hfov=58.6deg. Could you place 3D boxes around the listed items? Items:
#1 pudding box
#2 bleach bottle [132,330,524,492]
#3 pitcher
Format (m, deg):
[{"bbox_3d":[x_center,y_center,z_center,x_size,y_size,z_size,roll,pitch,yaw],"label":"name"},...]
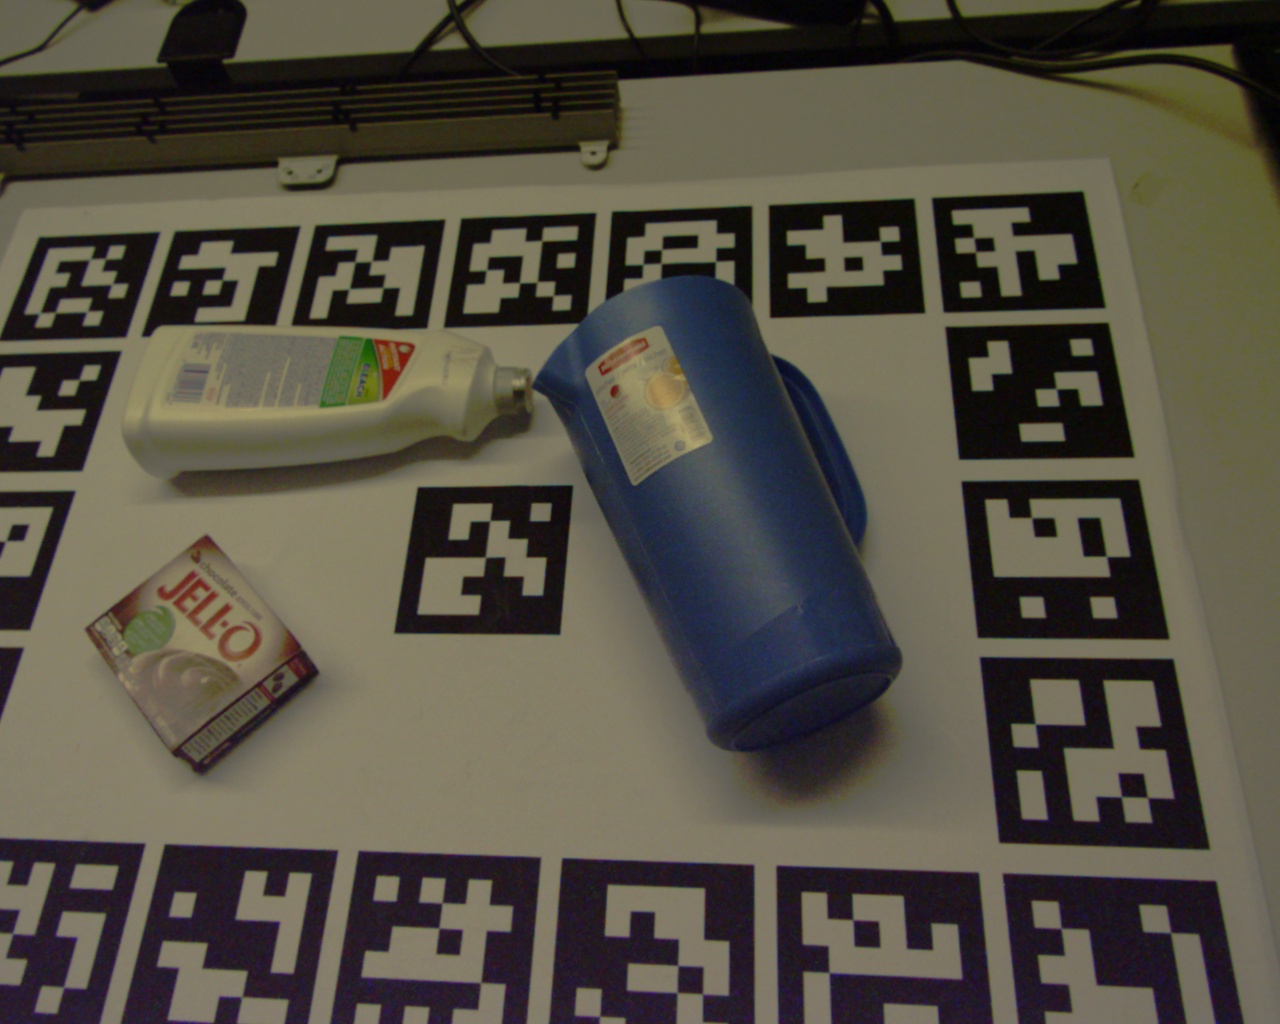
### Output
[{"bbox_3d":[-0.270,0.086,0.700,0.089,0.038,0.115,-38,65,-19],"label":"pudding box"},{"bbox_3d":[-0.204,-0.071,0.769,0.251,0.067,0.103,-3,66,4],"label":"bleach bottle"},{"bbox_3d":[0.049,0.012,0.672,0.186,0.134,0.244,-6,60,-36],"label":"pitcher"}]
